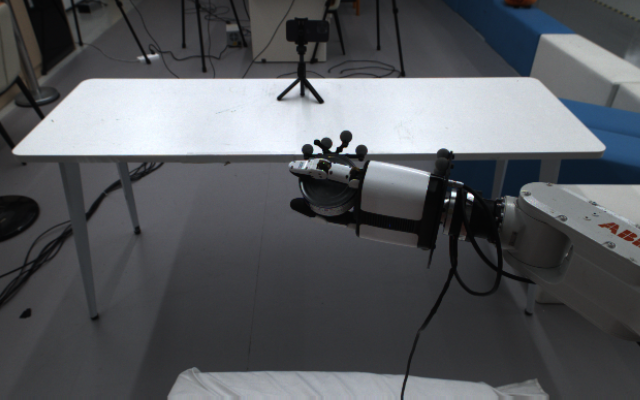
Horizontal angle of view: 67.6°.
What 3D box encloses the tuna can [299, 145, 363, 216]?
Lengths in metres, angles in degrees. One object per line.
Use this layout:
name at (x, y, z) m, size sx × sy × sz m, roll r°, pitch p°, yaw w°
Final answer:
tuna can at (0.015, -0.021, 0.683) m, size 0.085 × 0.034 × 0.085 m, roll -4°, pitch 61°, yaw 7°
